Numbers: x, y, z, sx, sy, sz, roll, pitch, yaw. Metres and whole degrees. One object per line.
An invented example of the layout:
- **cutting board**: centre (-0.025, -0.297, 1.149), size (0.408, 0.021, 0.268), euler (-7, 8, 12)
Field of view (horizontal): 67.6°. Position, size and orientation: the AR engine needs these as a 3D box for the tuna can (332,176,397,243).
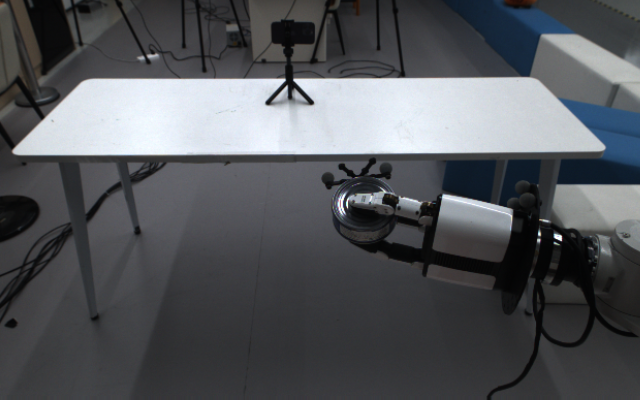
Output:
- **tuna can**: centre (0.061, 0.011, 0.627), size (0.085, 0.034, 0.085), euler (-3, 59, 5)
